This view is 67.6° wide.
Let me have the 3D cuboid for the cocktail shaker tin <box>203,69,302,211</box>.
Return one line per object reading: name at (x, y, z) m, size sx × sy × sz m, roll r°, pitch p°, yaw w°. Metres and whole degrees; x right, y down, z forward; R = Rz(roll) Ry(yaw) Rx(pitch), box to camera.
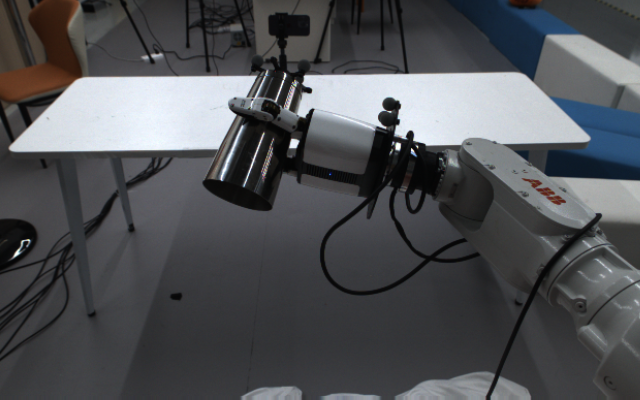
cocktail shaker tin at (-0.080, -0.083, 0.631) m, size 0.093 × 0.093 × 0.170 m, roll 13°, pitch 70°, yaw 15°
